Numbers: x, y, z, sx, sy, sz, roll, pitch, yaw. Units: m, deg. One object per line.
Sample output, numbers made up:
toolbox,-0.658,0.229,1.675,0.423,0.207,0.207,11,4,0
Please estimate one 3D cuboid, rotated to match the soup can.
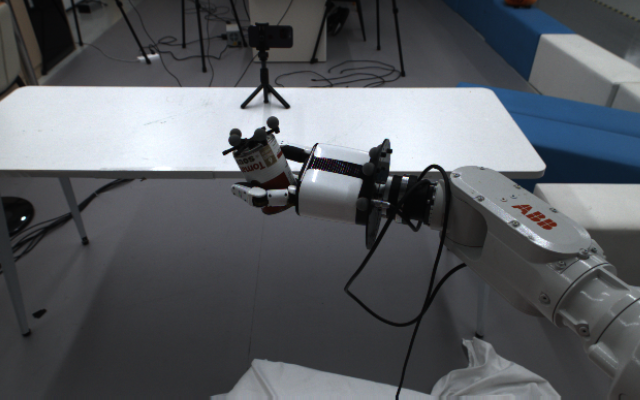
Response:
soup can,-0.074,-0.038,0.712,0.067,0.101,0.067,-21,24,10
